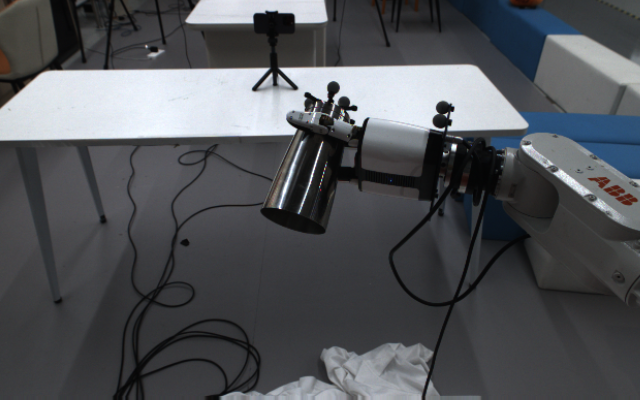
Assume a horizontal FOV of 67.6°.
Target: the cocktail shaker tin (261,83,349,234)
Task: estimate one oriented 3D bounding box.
[{"bbox_3d":[-0.010,-0.050,0.675,0.093,0.093,0.170,13,72,15],"label":"cocktail shaker tin"}]
